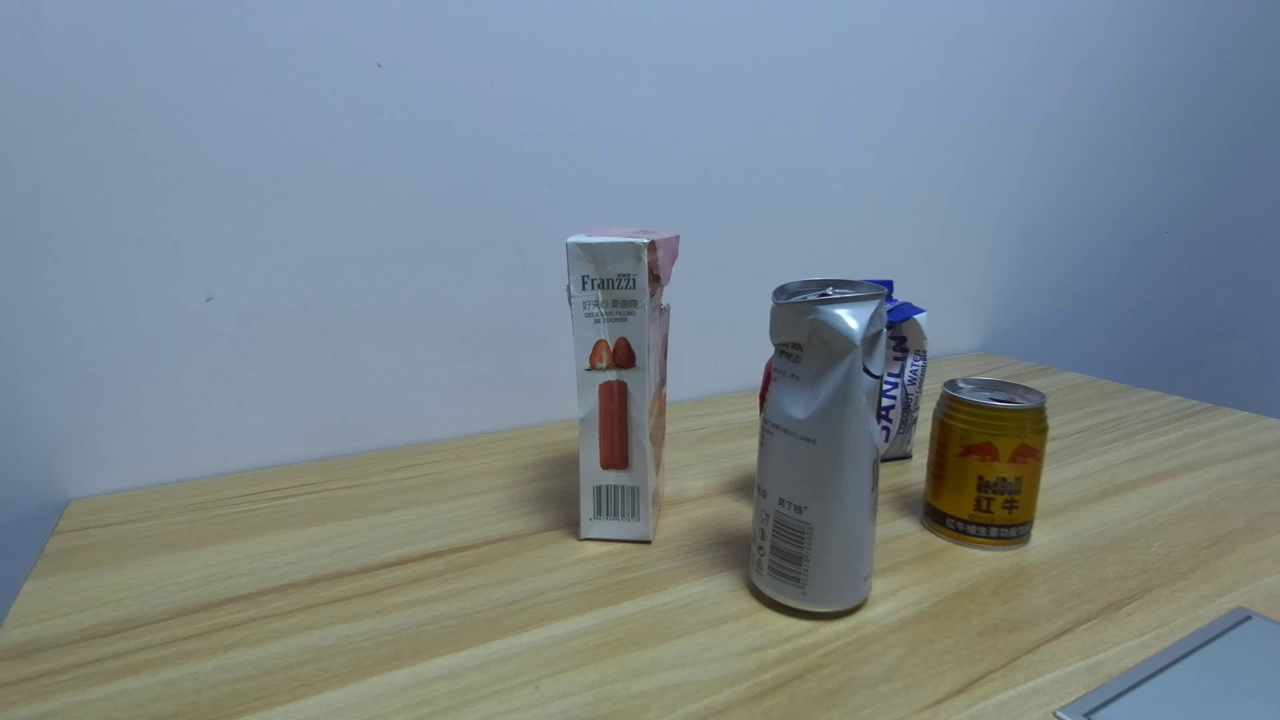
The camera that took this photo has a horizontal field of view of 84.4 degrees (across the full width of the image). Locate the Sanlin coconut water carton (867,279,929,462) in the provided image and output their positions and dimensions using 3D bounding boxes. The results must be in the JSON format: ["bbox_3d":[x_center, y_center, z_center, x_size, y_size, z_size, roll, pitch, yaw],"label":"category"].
[{"bbox_3d":[0.187,0.011,0.557,0.057,0.145,0.068,-10,23,-13],"label":"Sanlin coconut water carton"}]

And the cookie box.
[{"bbox_3d":[-0.011,0.013,0.450,0.059,0.186,0.105,4,14,9],"label":"cookie box"}]

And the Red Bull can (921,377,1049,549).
[{"bbox_3d":[0.218,0.064,0.447,0.067,0.093,0.067,2,12,0],"label":"Red Bull can"}]

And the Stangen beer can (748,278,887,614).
[{"bbox_3d":[0.092,0.044,0.362,0.065,0.166,0.066,9,17,31],"label":"Stangen beer can"}]
